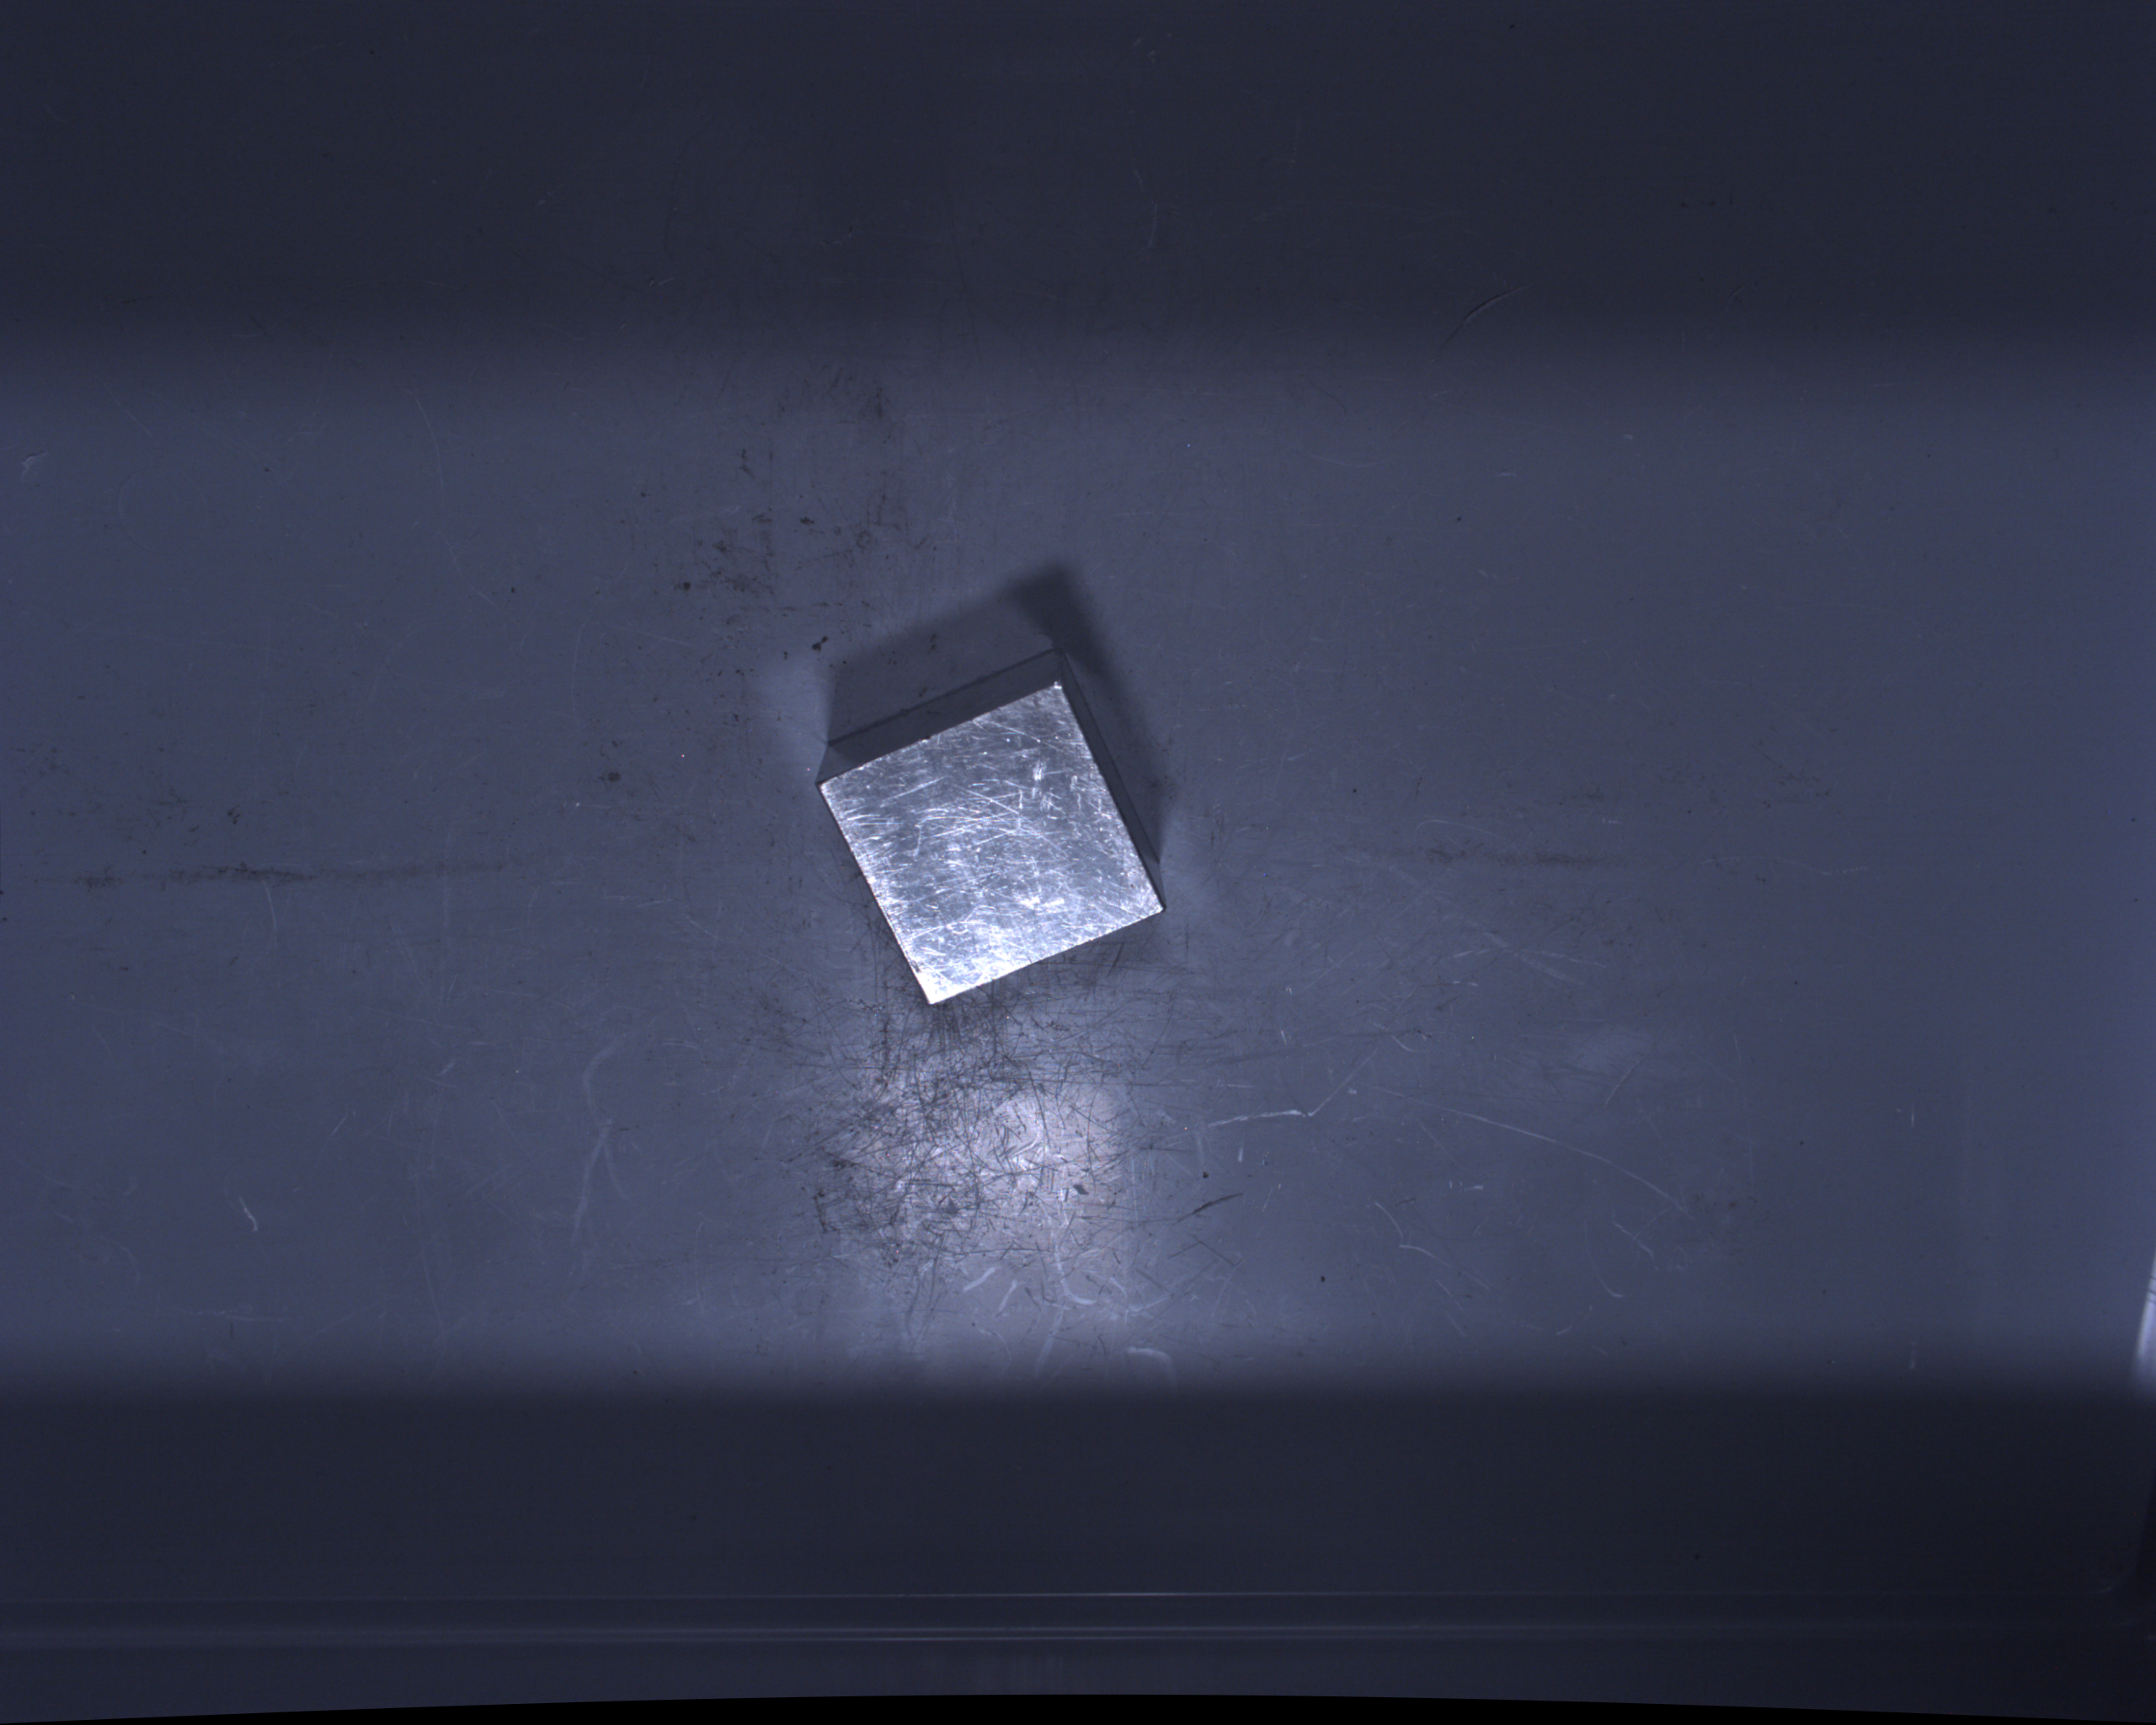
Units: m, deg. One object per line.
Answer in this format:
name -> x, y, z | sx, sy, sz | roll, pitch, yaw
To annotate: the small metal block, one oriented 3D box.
small metal block -> -0.016, -0.007, 0.405 | 0.050, 0.025, 0.050 | -22, 109, 7
